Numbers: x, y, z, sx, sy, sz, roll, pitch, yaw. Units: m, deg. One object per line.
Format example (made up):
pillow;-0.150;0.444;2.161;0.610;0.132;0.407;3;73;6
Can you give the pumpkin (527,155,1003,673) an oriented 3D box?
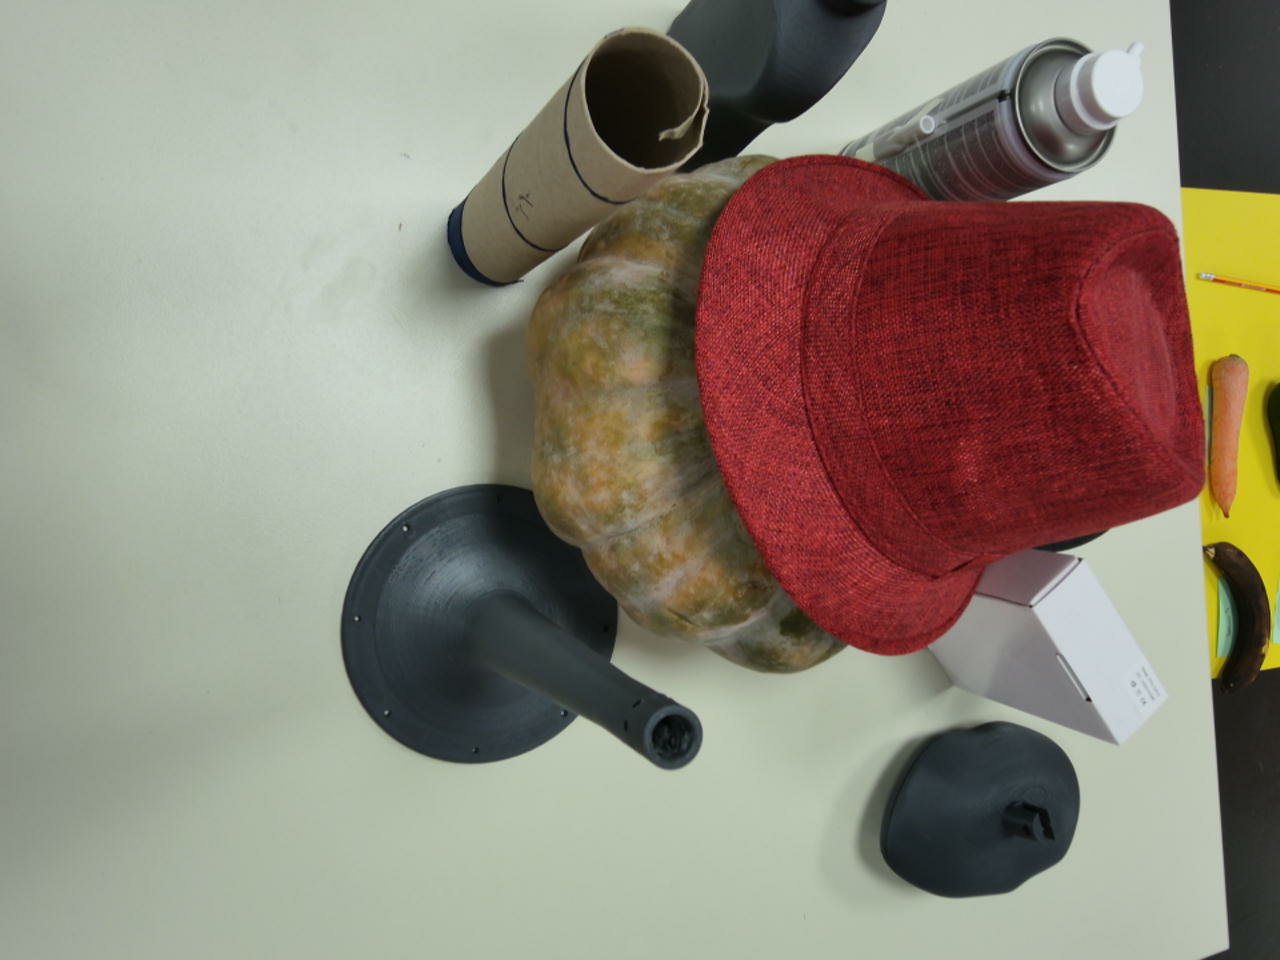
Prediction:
pumpkin;0.061;-0.038;0.506;0.252;0.169;0.252;0;91;-22
